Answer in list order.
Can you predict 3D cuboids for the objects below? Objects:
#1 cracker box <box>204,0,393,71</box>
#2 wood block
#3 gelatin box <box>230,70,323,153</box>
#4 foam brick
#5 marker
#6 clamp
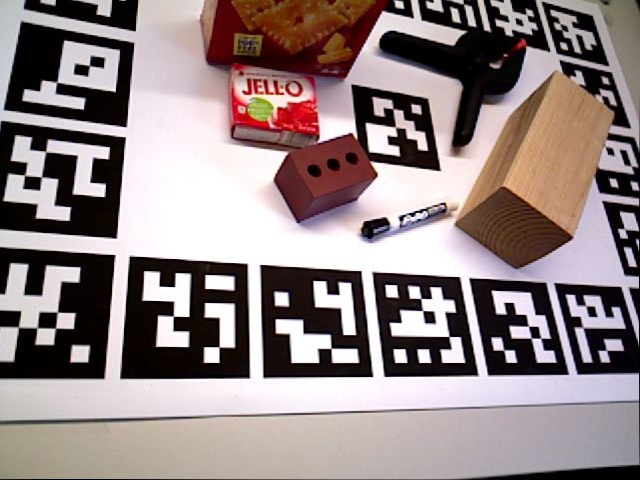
[{"bbox_3d":[-0.005,-0.258,0.499,0.162,0.218,0.071,1,66,-23],"label":"cracker box"},{"bbox_3d":[0.241,-0.078,0.600,0.090,0.093,0.202,34,58,-2],"label":"wood block"},{"bbox_3d":[-0.045,-0.128,0.546,0.088,0.031,0.073,2,70,-20],"label":"gelatin box"},{"bbox_3d":[0.005,-0.055,0.519,0.076,0.052,0.053,-22,79,-27],"label":"foam brick"},{"bbox_3d":[0.085,-0.015,0.550,0.119,0.020,0.019,-17,77,-26],"label":"marker"},{"bbox_3d":[0.185,-0.210,0.660,0.198,0.037,0.165,-29,82,-28],"label":"clamp"}]
